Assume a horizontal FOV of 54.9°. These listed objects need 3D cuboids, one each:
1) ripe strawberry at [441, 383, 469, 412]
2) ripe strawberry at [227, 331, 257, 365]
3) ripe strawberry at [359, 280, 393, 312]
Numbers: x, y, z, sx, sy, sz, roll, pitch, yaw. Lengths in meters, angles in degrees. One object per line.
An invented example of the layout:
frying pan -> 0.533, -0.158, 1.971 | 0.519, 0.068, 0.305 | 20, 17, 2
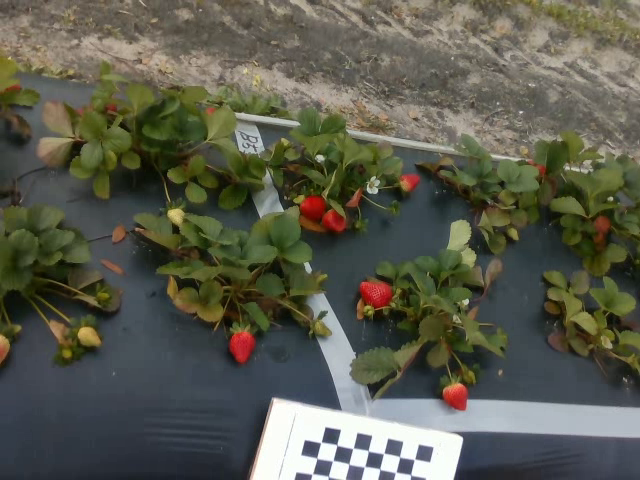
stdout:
ripe strawberry -> 0.186, 0.223, 0.842 | 0.039, 0.047, 0.041 | -23, -9, -5
ripe strawberry -> -0.095, 0.136, 0.756 | 0.036, 0.040, 0.046 | -3, 38, -3
ripe strawberry -> 0.076, 0.077, 0.892 | 0.062, 0.043, 0.043 | 31, -7, 0
